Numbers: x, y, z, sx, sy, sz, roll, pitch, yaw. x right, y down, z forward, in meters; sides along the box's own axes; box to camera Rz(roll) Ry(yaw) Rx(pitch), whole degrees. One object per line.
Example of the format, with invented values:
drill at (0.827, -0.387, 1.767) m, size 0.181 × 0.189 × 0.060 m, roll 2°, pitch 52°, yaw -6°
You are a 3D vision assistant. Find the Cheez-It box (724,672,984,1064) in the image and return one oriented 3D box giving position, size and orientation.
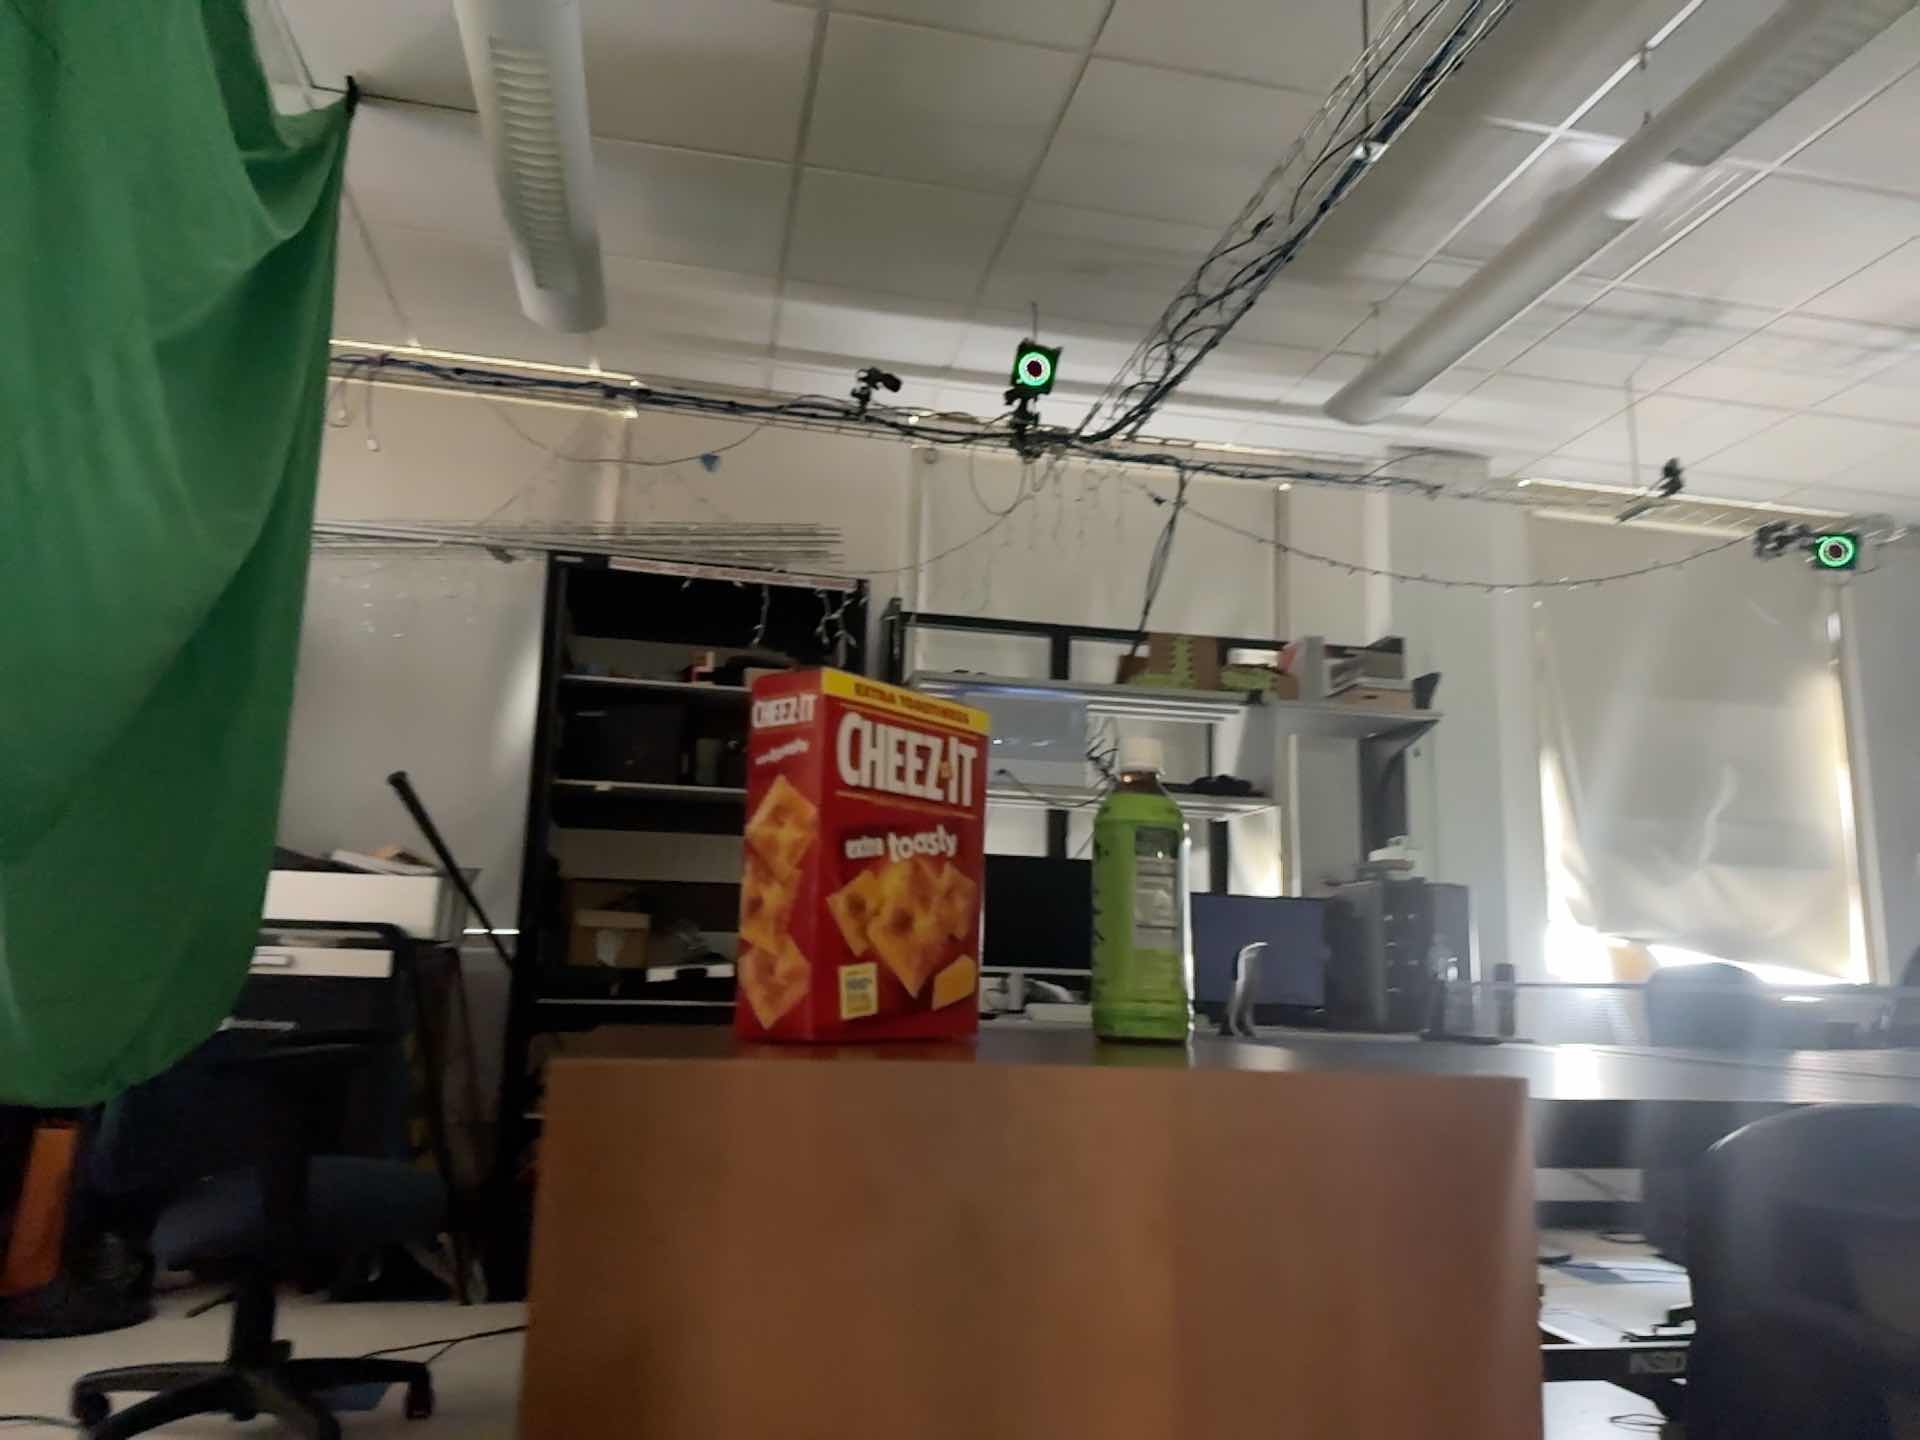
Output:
Cheez-It box at (-0.061, 0.093, 0.829) m, size 0.062 × 0.214 × 0.159 m, roll -4°, pitch -11°, yaw 36°

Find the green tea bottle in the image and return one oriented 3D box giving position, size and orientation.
green tea bottle at (0.123, 0.122, 0.928) m, size 0.073 × 0.212 × 0.073 m, roll 3°, pitch -10°, yaw 0°
